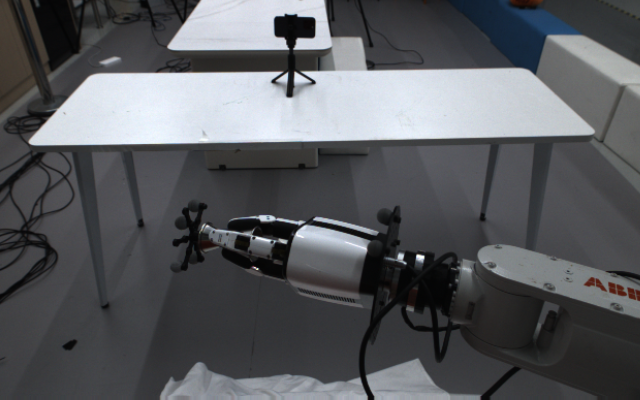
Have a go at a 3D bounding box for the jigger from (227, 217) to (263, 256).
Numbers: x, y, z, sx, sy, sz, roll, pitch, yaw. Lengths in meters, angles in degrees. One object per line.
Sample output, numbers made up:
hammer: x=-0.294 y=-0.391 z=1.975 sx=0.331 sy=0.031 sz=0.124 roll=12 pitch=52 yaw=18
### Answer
jigger: x=-0.103 y=0.048 z=0.596 sx=0.071 sy=0.043 sz=0.043 roll=6 pitch=35 yaw=14
